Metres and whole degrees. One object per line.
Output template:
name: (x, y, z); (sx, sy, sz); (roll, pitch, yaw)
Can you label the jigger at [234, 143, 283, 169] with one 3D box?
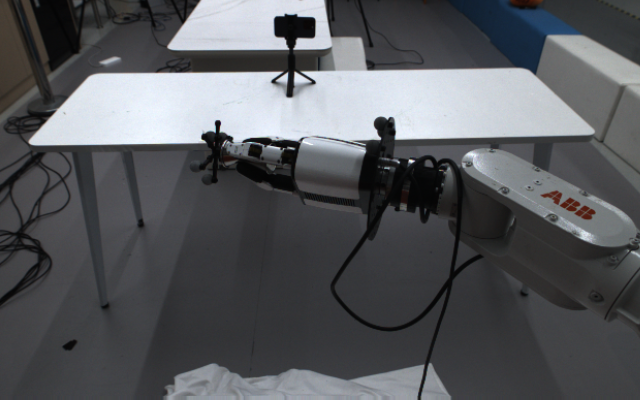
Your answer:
jigger: (-0.092, -0.065, 0.665); (0.071, 0.043, 0.043); (8, 35, 15)
